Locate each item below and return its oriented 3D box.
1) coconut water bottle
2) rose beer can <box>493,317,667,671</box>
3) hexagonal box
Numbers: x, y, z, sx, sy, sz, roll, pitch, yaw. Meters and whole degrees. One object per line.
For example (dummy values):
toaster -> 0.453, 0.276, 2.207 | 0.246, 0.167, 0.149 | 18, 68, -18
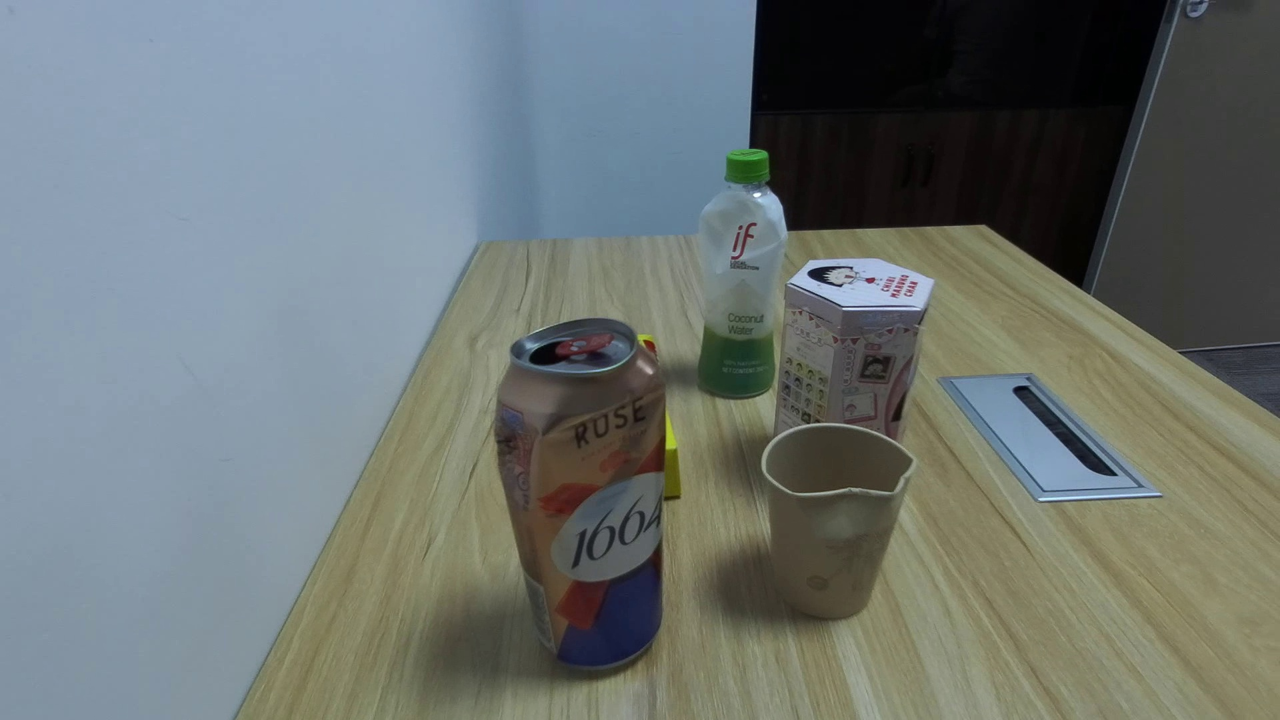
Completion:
coconut water bottle -> 0.078, -0.064, 0.544 | 0.067, 0.187, 0.067 | -1, 27, 1
rose beer can -> -0.023, 0.068, 0.339 | 0.076, 0.167, 0.065 | -15, 24, -19
hexagonal box -> 0.135, 0.012, 0.455 | 0.083, 0.136, 0.091 | 12, 31, 24
